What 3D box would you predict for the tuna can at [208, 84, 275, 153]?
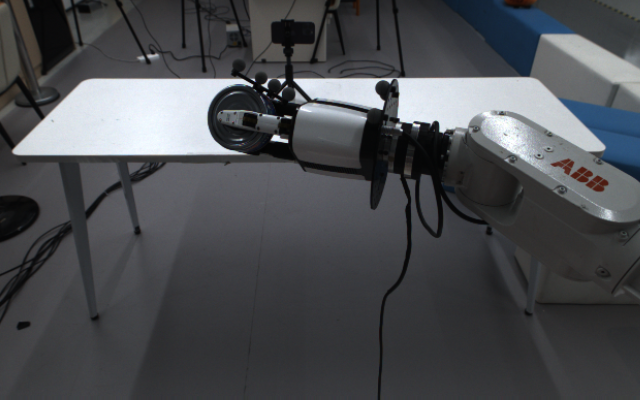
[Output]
[{"bbox_3d":[-0.098,-0.099,0.627,0.085,0.085,0.034,12,4,14],"label":"tuna can"}]
